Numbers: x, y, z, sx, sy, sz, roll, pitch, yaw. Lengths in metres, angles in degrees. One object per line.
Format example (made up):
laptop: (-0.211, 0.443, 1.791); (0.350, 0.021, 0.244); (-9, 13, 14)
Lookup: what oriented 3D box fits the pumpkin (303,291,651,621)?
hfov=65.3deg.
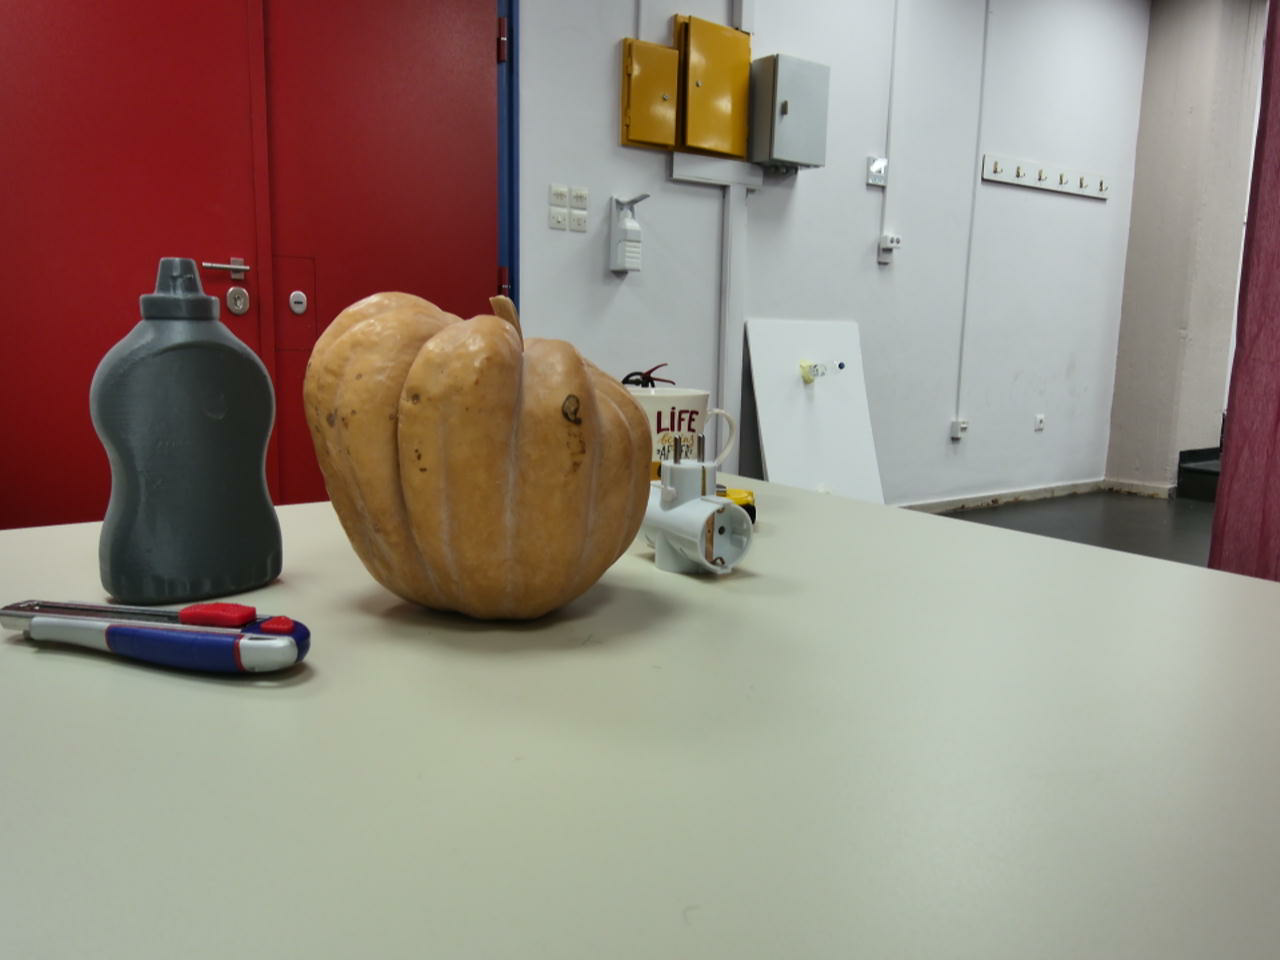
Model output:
pumpkin: (-0.089, -0.015, 0.560); (0.199, 0.177, 0.198); (1, 7, 0)
